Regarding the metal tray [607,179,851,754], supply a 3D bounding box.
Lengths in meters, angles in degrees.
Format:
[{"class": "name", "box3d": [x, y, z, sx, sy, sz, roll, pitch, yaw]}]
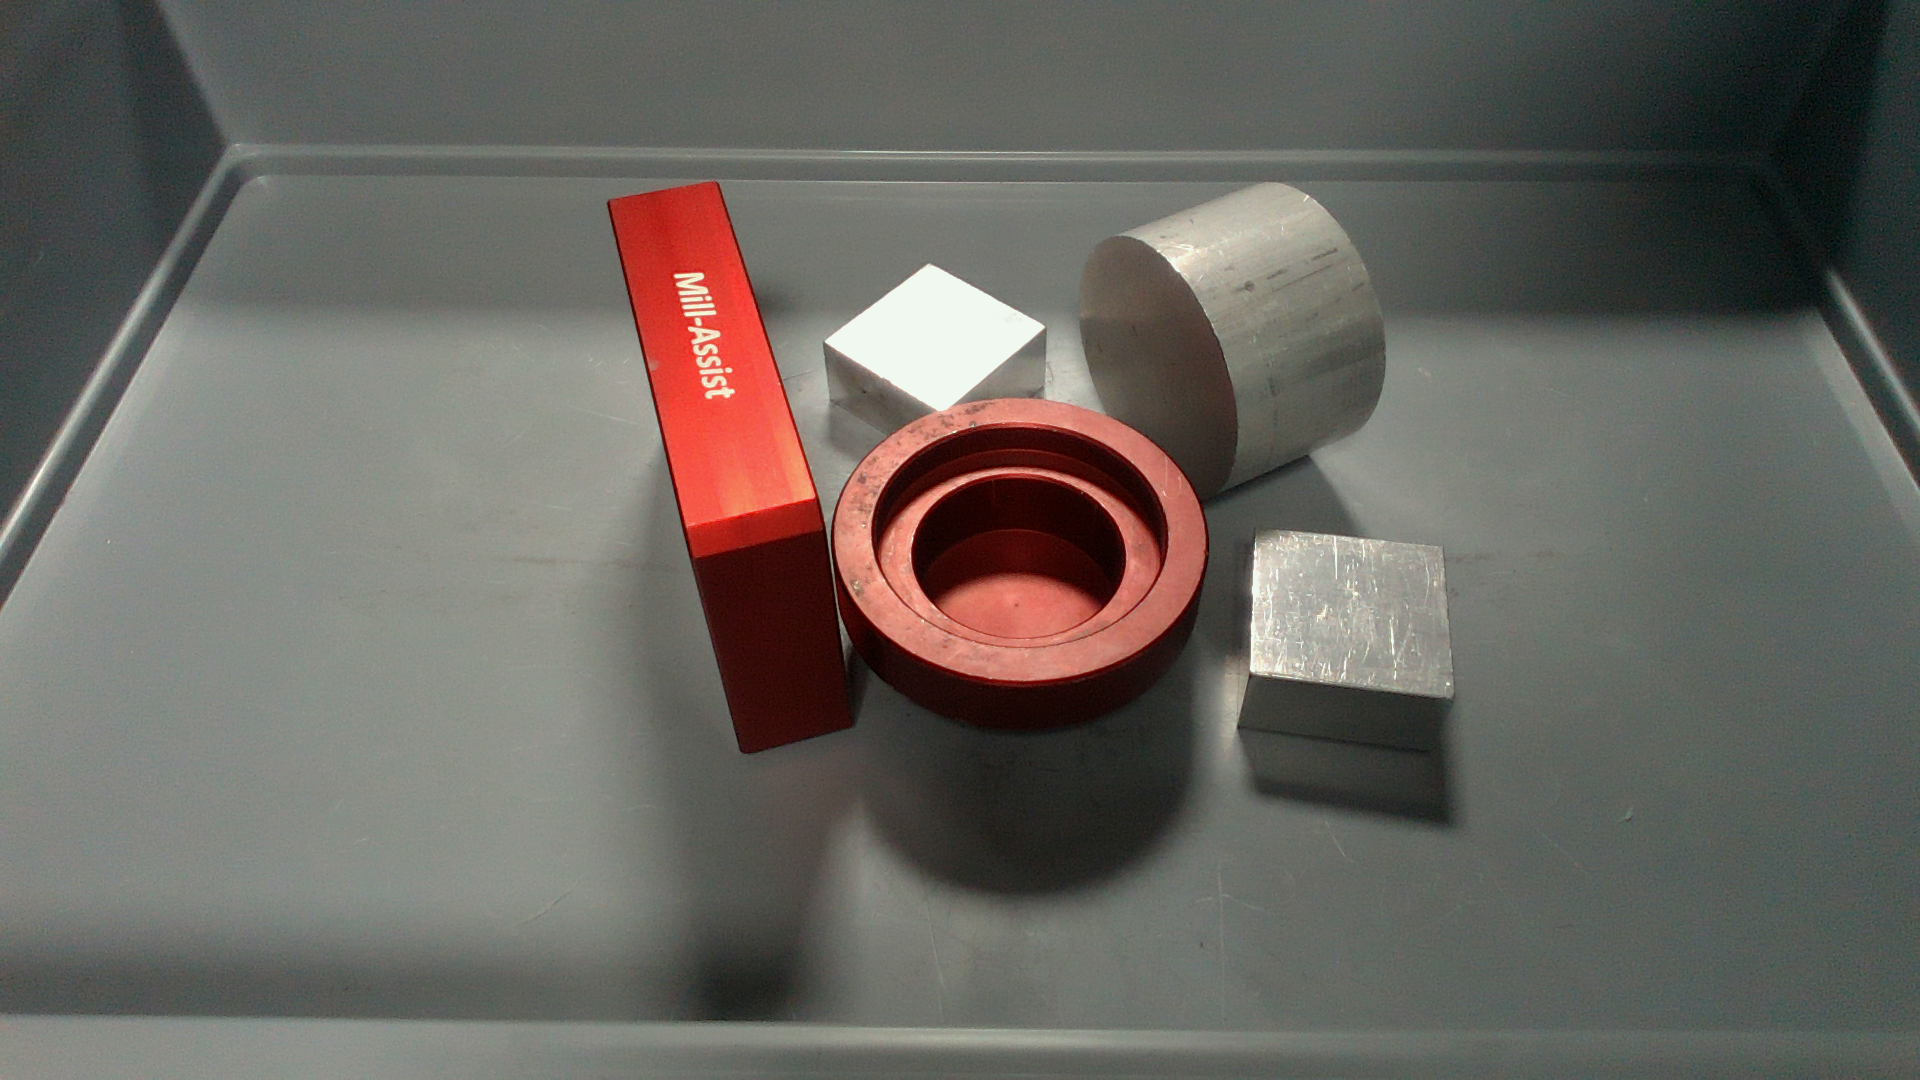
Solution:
[{"class": "metal tray", "box3d": [-0.062, -0.021, 0.365, 0.030, 0.090, 0.130, -13, 51, -10]}]

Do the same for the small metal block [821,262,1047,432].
[{"class": "small metal block", "box3d": [-0.008, -0.056, 0.437, 0.050, 0.025, 0.050, 32, 58, 26]}]

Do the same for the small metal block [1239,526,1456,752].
[{"class": "small metal block", "box3d": [0.102, 0.026, 0.368, 0.050, 0.025, 0.050, 6, 50, 7]}]

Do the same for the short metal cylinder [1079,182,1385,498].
[{"class": "short metal cylinder", "box3d": [0.078, -0.058, 0.403, 0.050, 0.080, 0.080, -23, 54, -18]}]

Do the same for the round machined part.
[{"class": "round machined part", "box3d": [0.015, 0.009, 0.369, 0.098, 0.042, 0.098, 0, 50, 0]}]
